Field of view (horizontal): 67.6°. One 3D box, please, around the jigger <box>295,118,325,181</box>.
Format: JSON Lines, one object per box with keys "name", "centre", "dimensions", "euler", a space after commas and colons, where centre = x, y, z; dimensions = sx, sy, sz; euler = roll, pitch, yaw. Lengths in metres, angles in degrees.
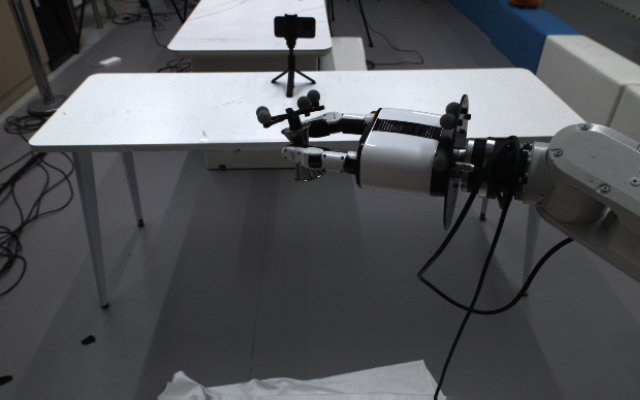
{"name": "jigger", "centre": [-0.021, -0.062, 0.632], "dimensions": [0.043, 0.071, 0.043], "euler": [-14, 21, 6]}
